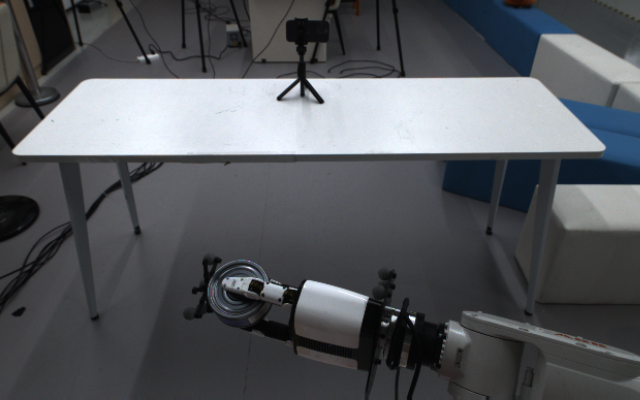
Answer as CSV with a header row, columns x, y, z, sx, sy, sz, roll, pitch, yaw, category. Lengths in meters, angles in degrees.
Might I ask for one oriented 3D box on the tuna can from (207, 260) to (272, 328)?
x,y,z,sx,sy,sz,roll,pitch,yaw,category
-0.103,0.124,0.647,0.085,0.034,0.085,-2,58,3,tuna can
